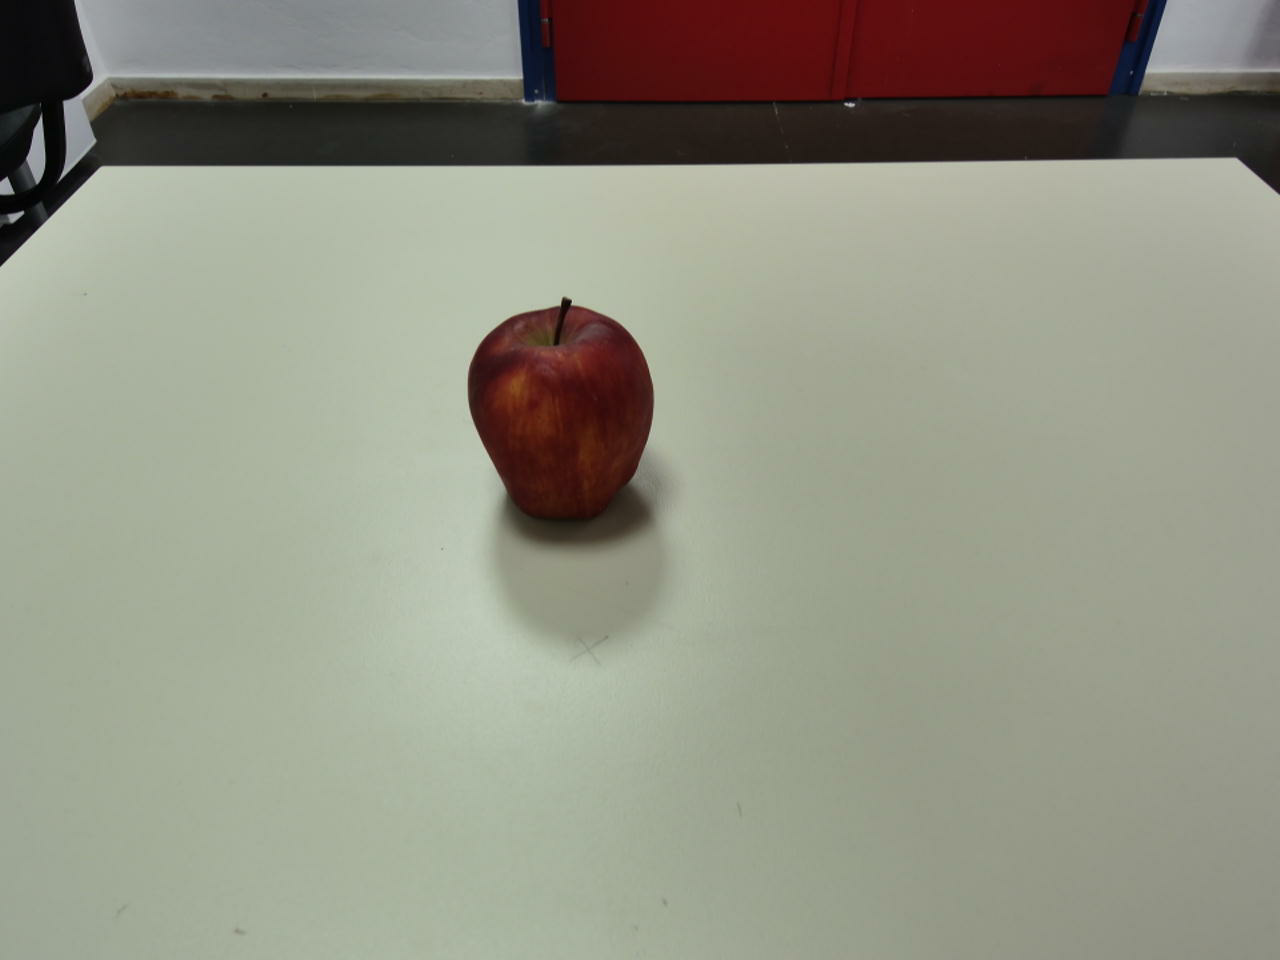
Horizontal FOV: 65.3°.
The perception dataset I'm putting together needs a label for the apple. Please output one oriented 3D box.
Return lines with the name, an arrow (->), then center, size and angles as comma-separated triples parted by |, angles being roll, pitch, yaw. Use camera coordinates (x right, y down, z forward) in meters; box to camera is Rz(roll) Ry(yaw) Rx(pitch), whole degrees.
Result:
apple -> -0.034, -0.034, 0.415 | 0.083, 0.090, 0.083 | 0, 38, 0
